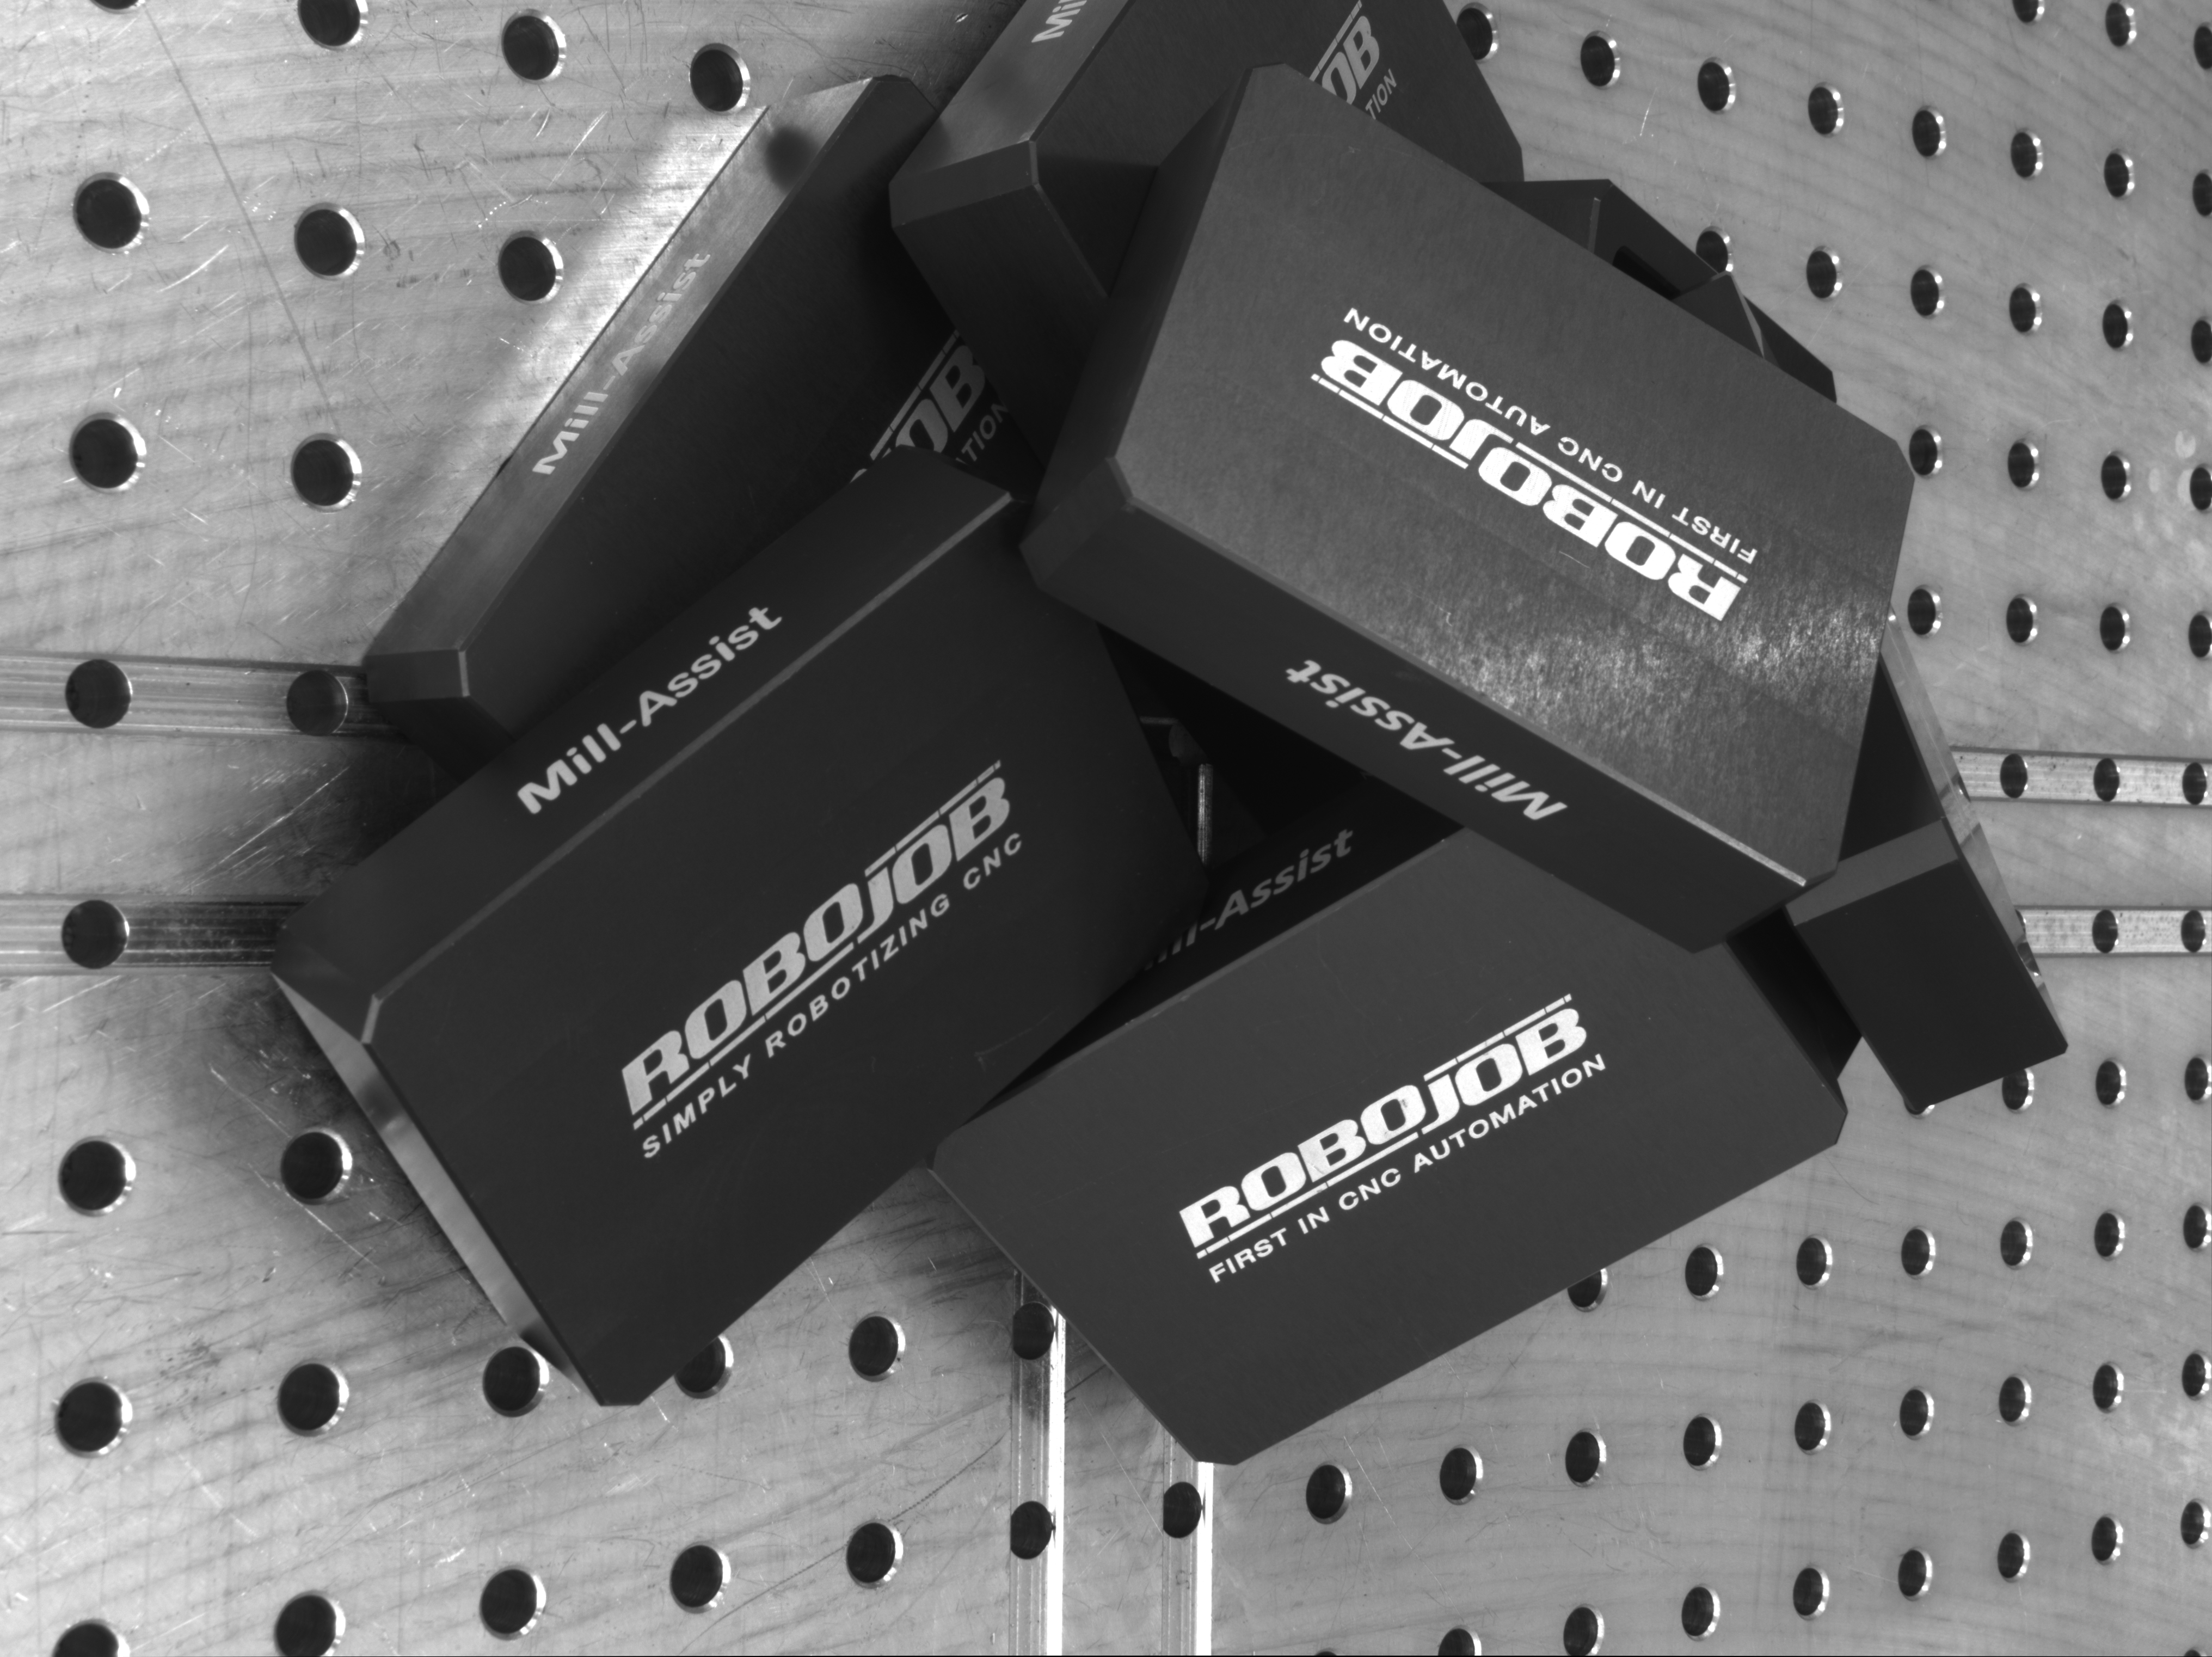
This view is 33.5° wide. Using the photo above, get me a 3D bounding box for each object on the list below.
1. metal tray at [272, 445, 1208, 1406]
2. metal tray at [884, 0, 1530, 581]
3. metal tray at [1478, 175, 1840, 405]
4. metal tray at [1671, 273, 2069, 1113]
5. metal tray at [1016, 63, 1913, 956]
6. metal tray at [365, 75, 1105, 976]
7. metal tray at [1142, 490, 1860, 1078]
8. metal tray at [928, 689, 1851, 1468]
[{"bbox_3d":[-0.051,0.014,0.564,0.130,0.030,0.090,-40,131,-20],"label":"metal tray"},{"bbox_3d":[0.022,-0.111,0.630,0.090,0.030,0.130,56,44,-27],"label":"metal tray"},{"bbox_3d":[0.098,-0.059,0.689,0.130,0.030,0.090,19,77,-58],"label":"metal tray"},{"bbox_3d":[0.129,-0.024,0.662,0.090,0.030,0.130,46,25,-53],"label":"metal tray"},{"bbox_3d":[0.059,-0.049,0.571,0.130,0.030,0.090,29,57,-15],"label":"metal tray"},{"bbox_3d":[-0.048,-0.045,0.596,0.090,0.030,0.130,46,62,-30],"label":"metal tray"},{"bbox_3d":[0.072,-0.004,0.658,0.130,0.090,0.030,52,60,-26],"label":"metal tray"},{"bbox_3d":[0.046,0.045,0.618,0.090,0.130,0.030,51,18,-28],"label":"metal tray"}]
